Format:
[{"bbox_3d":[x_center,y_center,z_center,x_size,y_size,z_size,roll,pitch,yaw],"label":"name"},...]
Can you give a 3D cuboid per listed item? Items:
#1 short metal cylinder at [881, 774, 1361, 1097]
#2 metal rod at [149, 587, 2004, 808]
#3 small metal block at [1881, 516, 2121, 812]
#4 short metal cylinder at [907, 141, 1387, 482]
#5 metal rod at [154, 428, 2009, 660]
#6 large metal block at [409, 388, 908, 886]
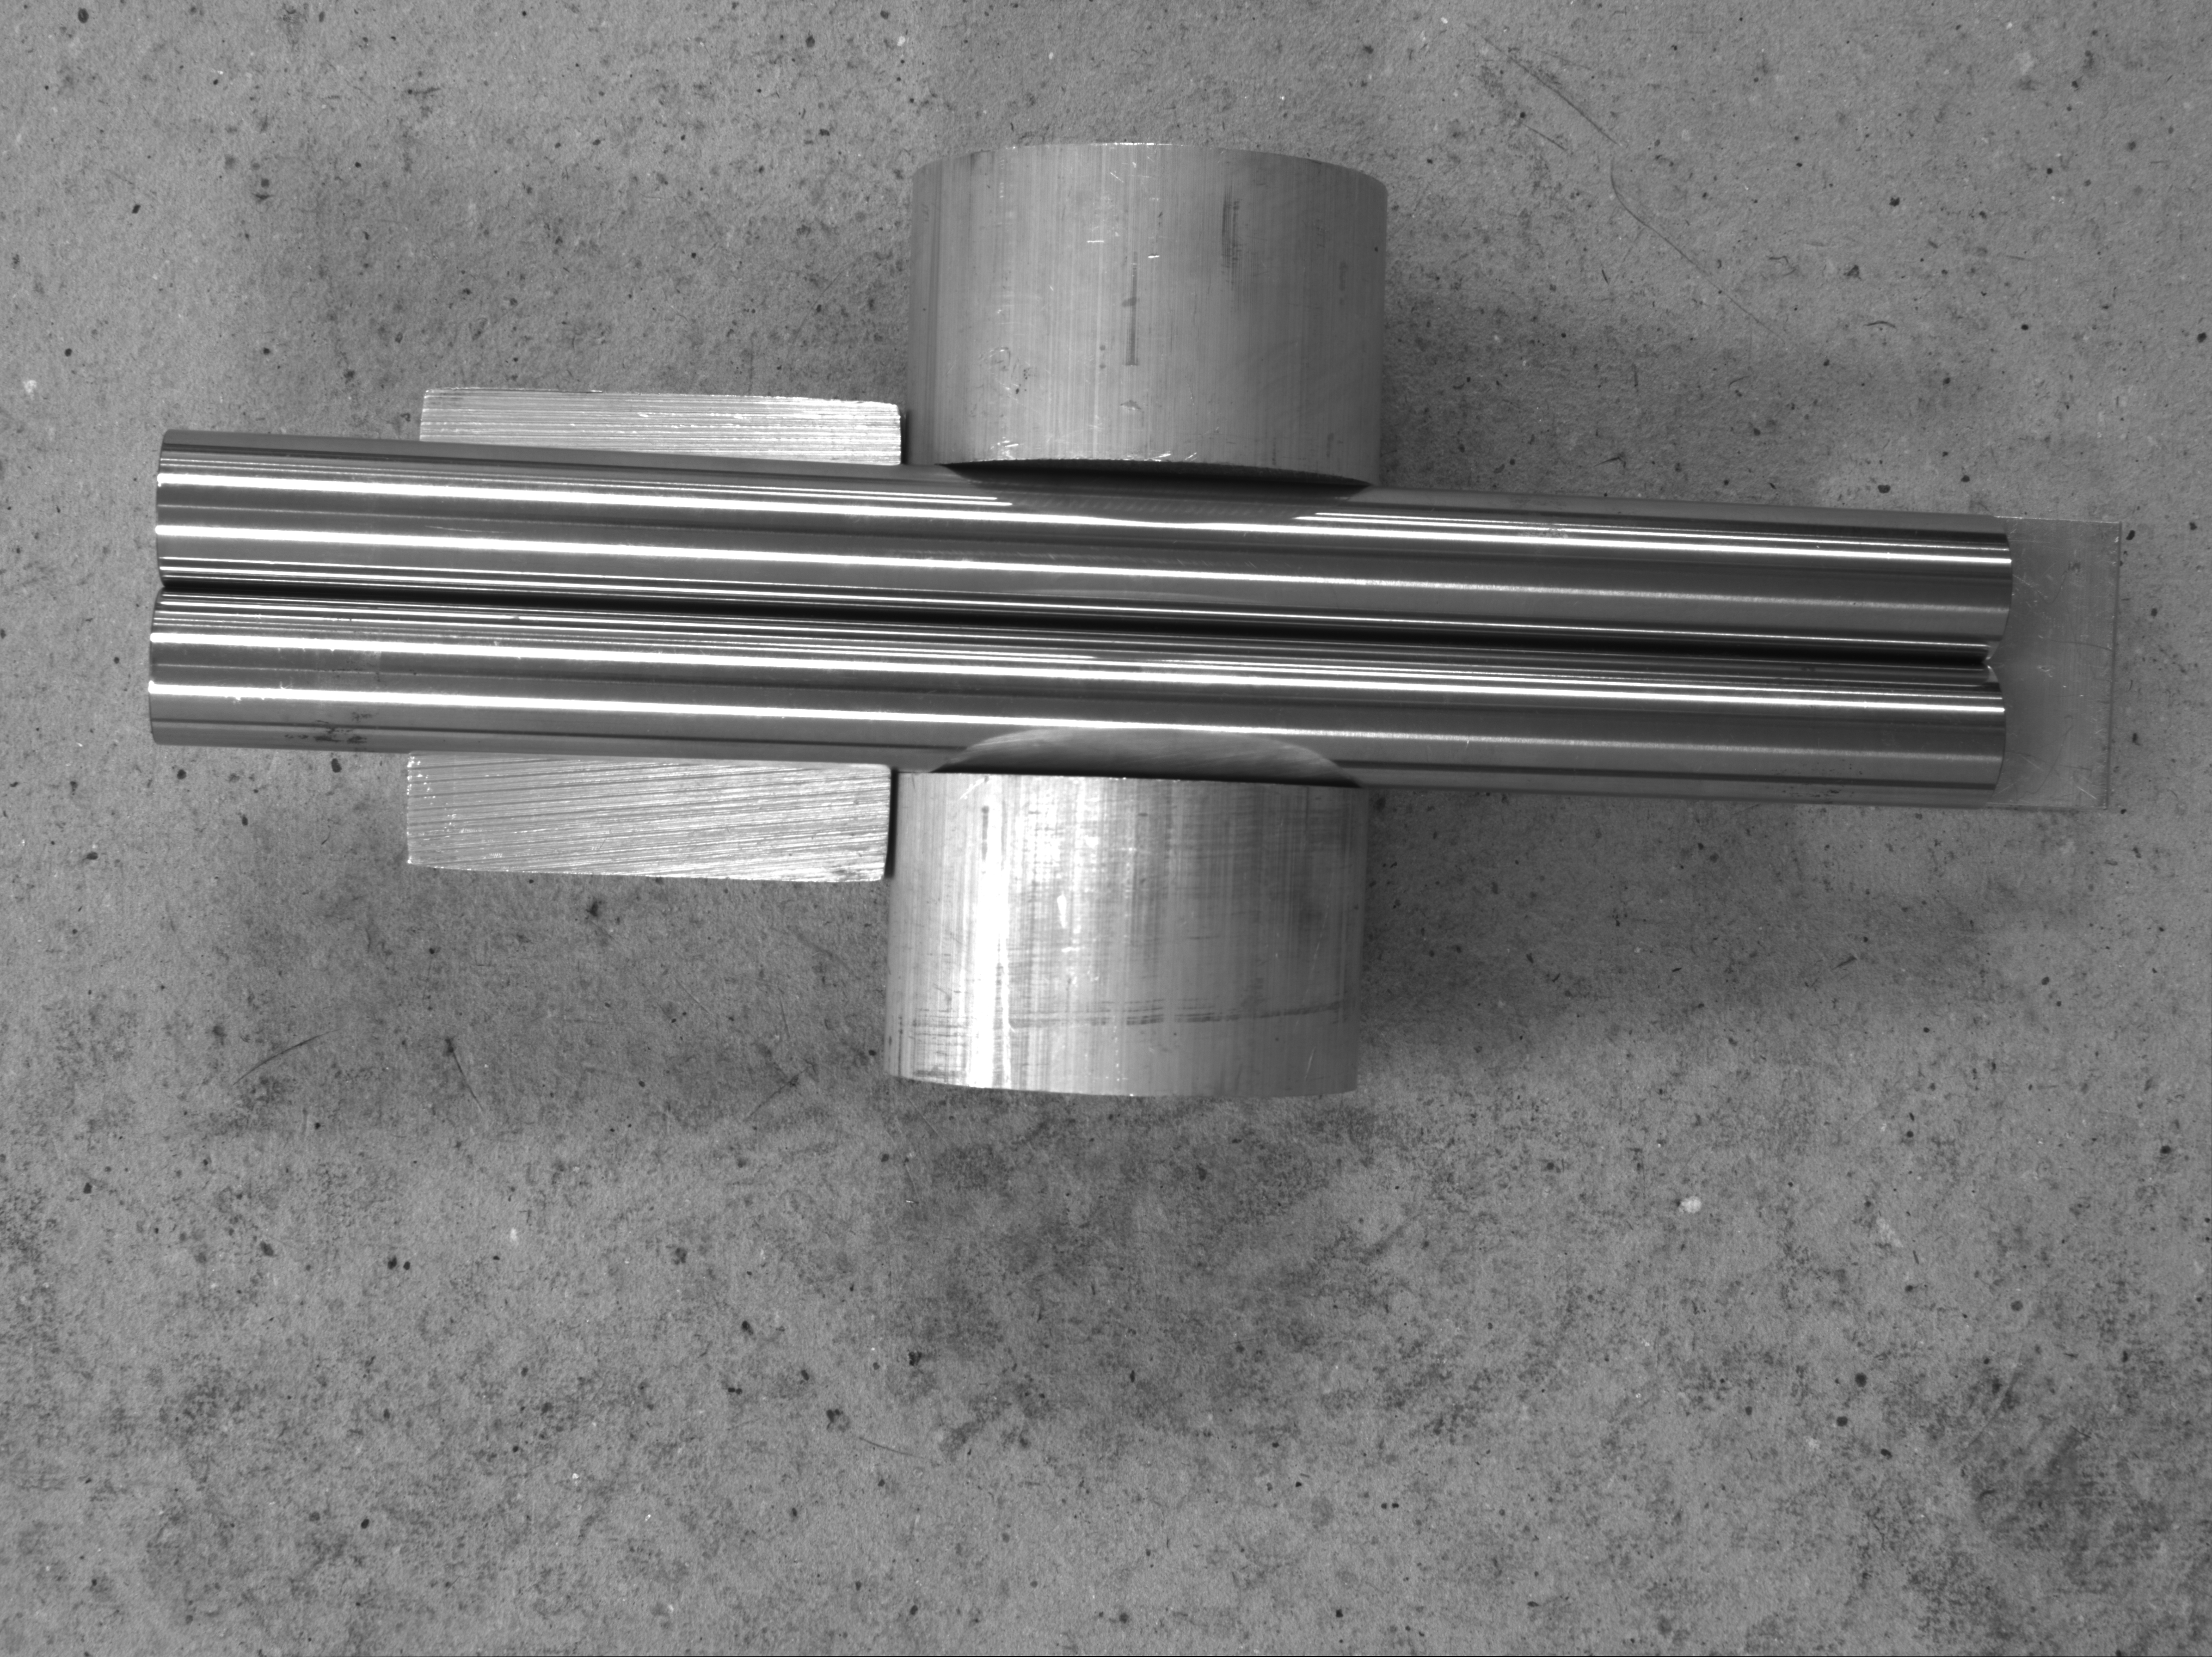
[{"bbox_3d":[0.003,0.017,0.619,0.080,0.080,0.050,2,90,0],"label":"short metal cylinder"},{"bbox_3d":[-0.001,-0.021,0.601,0.300,0.025,0.025,2,90,-8],"label":"metal rod"},{"bbox_3d":[0.149,-0.029,0.646,0.050,0.025,0.050,3,90,0],"label":"small metal block"},{"bbox_3d":[0.007,-0.083,0.619,0.080,0.080,0.050,2,90,0],"label":"short metal cylinder"},{"bbox_3d":[0.000,-0.046,0.601,0.300,0.025,0.025,2,90,-8],"label":"metal rod"},{"bbox_3d":[-0.074,-0.032,0.634,0.080,0.050,0.080,2,90,0],"label":"large metal block"}]
